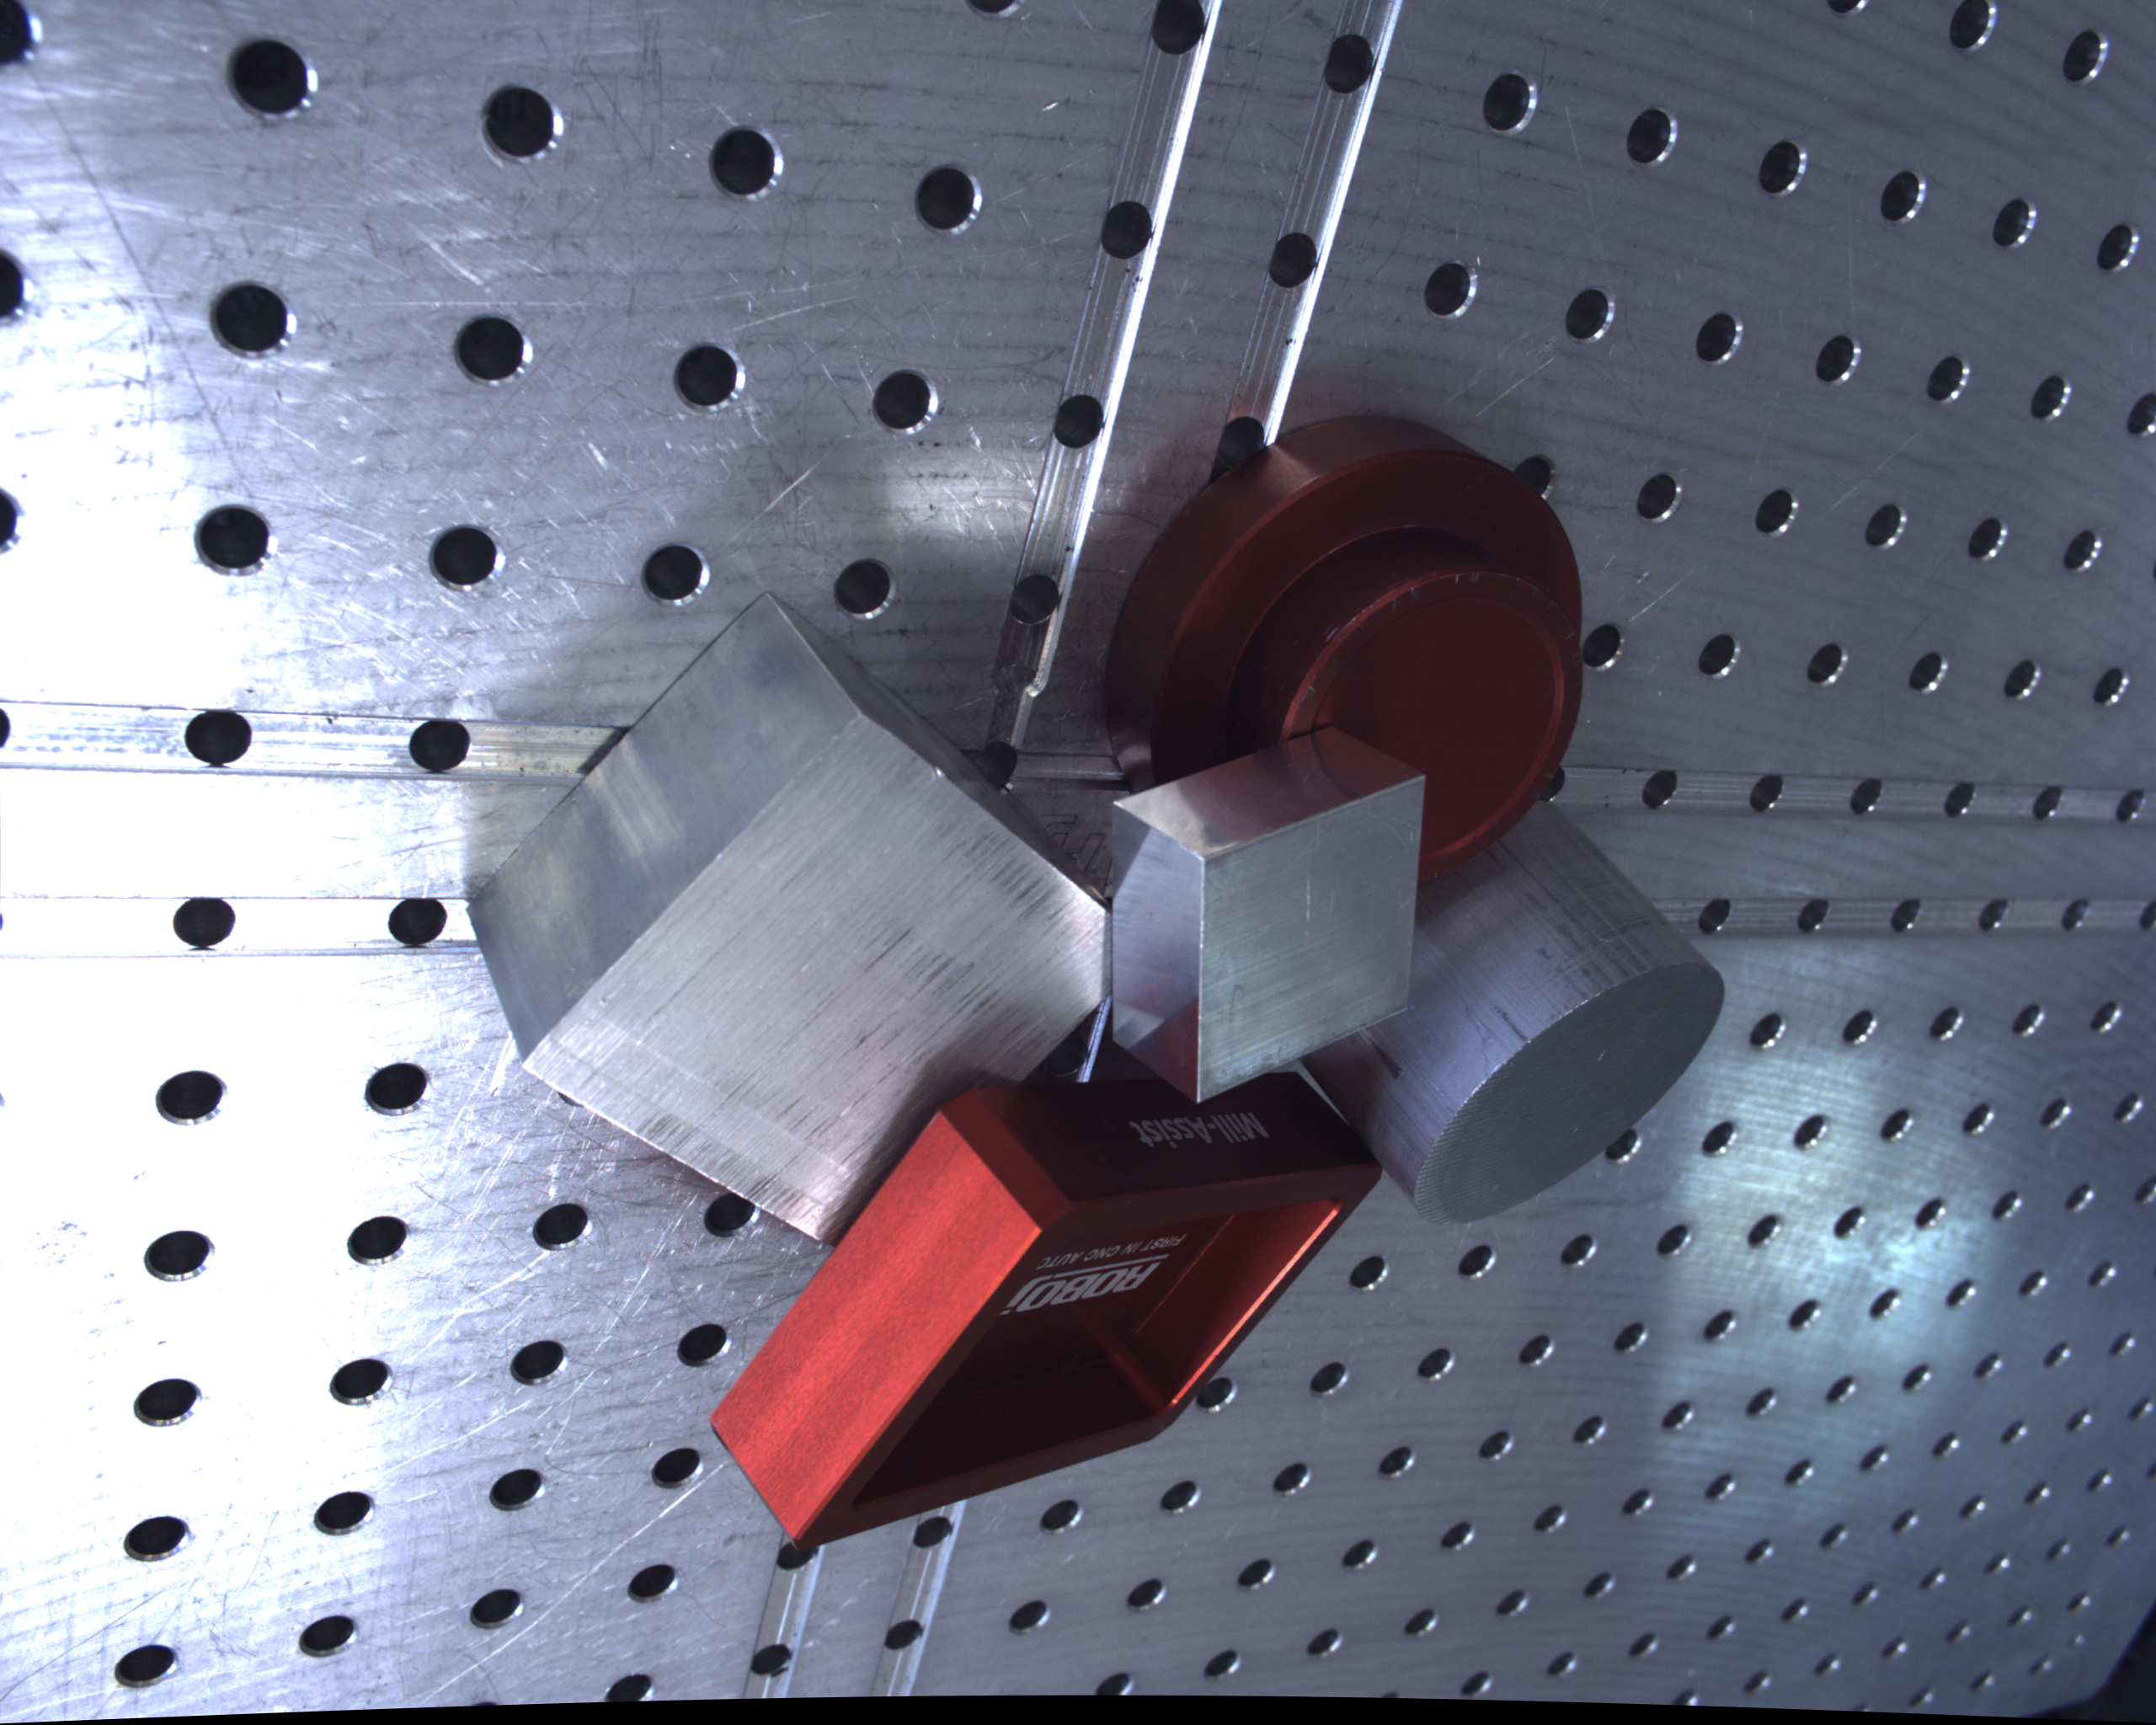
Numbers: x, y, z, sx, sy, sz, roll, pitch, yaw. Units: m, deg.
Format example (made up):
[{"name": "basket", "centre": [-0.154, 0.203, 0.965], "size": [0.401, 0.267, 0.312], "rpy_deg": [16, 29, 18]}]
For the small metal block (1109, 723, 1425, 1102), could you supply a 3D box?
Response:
[{"name": "small metal block", "centre": [0.033, 0.008, 0.374], "size": [0.050, 0.025, 0.050], "rpy_deg": [-20, 124, -31]}]

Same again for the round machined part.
[{"name": "round machined part", "centre": [0.059, -0.034, 0.411], "size": [0.099, 0.042, 0.097], "rpy_deg": [-14, 124, -21]}]

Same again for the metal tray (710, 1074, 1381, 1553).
[{"name": "metal tray", "centre": [-0.001, 0.087, 0.424], "size": [0.090, 0.030, 0.131], "rpy_deg": [-54, 151, 19]}]

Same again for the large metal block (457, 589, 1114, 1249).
[{"name": "large metal block", "centre": [-0.049, 0.012, 0.376], "size": [0.080, 0.050, 0.080], "rpy_deg": [-46, 129, 4]}]

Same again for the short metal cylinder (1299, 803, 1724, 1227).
[{"name": "short metal cylinder", "centre": [0.091, 0.033, 0.450], "size": [0.081, 0.050, 0.080], "rpy_deg": [-25, 145, -19]}]
